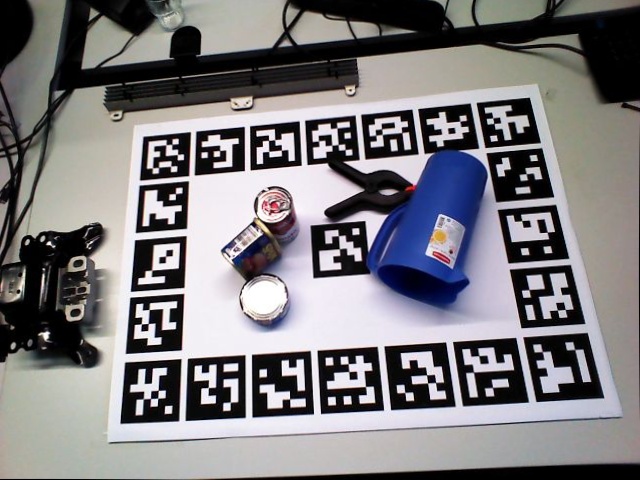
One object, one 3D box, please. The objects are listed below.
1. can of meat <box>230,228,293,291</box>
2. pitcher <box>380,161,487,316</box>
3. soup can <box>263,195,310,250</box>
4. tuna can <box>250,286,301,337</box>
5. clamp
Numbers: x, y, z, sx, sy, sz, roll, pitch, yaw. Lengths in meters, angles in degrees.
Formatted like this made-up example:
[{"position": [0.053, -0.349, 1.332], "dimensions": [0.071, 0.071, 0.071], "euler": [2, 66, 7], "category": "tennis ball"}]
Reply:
[{"position": [-0.101, 0.037, 0.892], "dimensions": [0.083, 0.102, 0.058], "euler": [-39, 71, -5], "category": "can of meat"}, {"position": [0.212, -0.007, 0.858], "dimensions": [0.190, 0.133, 0.241], "euler": [7, 61, 32], "category": "pitcher"}, {"position": [-0.057, -0.028, 0.917], "dimensions": [0.068, 0.102, 0.067], "euler": [-3, 71, 8], "category": "soup can"}, {"position": [-0.076, 0.124, 0.896], "dimensions": [0.086, 0.034, 0.085], "euler": [-2, 71, 5], "category": "tuna can"}, {"position": [0.100, -0.080, 0.963], "dimensions": [0.165, 0.037, 0.121], "euler": [-1, 65, 2], "category": "clamp"}]
